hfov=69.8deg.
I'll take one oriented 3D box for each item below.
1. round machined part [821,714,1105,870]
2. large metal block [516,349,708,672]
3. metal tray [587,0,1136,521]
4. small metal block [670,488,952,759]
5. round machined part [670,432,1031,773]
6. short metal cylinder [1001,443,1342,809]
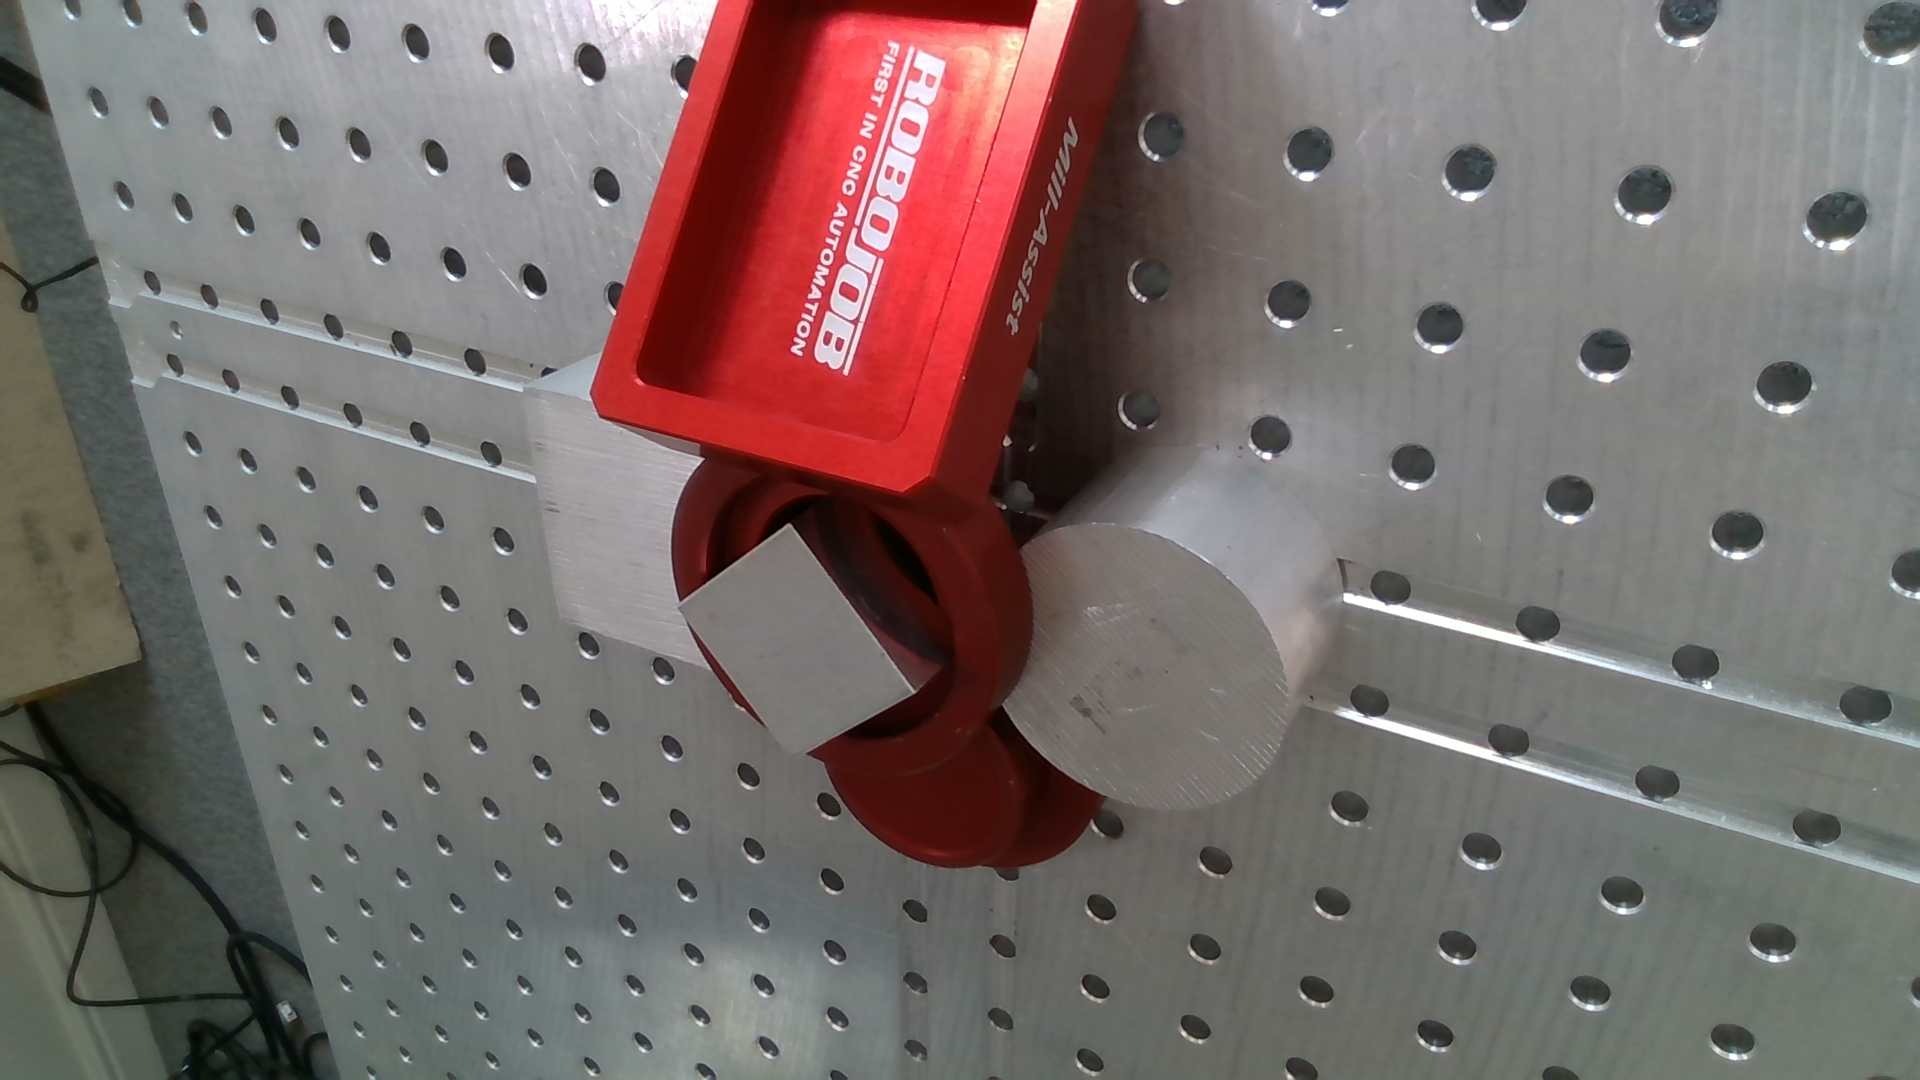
[{"bbox_3d":[-0.004,0.059,0.414,0.098,0.042,0.098,15,122,25],"label":"round machined part"},{"bbox_3d":[-0.080,-0.011,0.415,0.080,0.050,0.080,15,122,24],"label":"large metal block"},{"bbox_3d":[-0.023,-0.078,0.313,0.090,0.030,0.130,15,85,24],"label":"metal tray"},{"bbox_3d":[-0.037,0.021,0.346,0.050,0.025,0.050,-32,96,39],"label":"small metal block"},{"bbox_3d":[-0.025,0.009,0.364,0.098,0.042,0.098,15,122,25],"label":"round machined part"},{"bbox_3d":[0.052,0.021,0.355,0.080,0.050,0.080,15,122,25],"label":"short metal cylinder"}]
